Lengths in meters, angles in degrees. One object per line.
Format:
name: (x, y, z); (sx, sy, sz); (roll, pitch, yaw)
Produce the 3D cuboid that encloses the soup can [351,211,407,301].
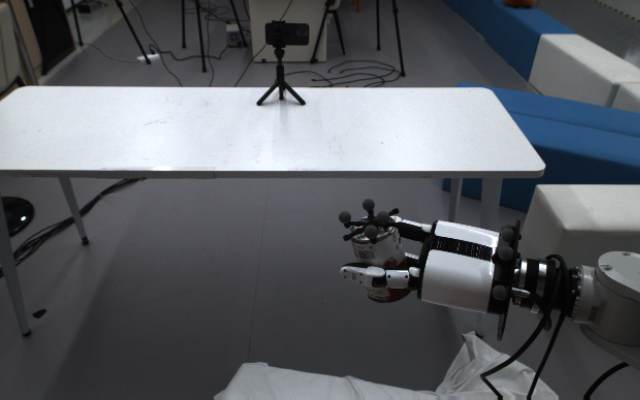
soup can: (0.087, 0.081, 0.669); (0.067, 0.101, 0.067); (-16, 23, 7)
